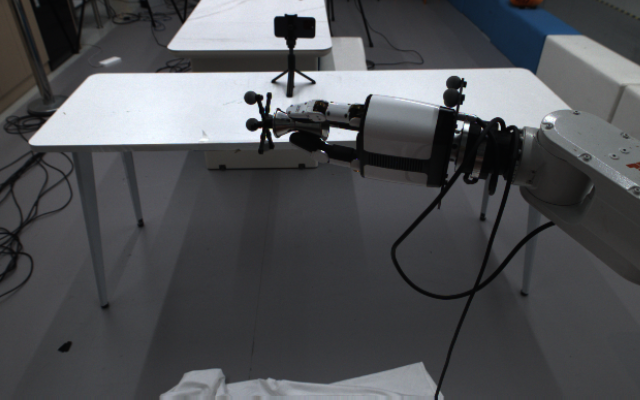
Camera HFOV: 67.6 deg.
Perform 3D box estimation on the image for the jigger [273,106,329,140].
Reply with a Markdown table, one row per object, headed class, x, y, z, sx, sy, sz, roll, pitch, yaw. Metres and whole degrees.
| class | x | y | z | sx | sy | sz | roll | pitch | yaw |
| --- | --- | --- | --- | --- | --- | --- | --- | --- | --- |
| jigger | -0.018 | -0.106 | 0.646 | 0.071 | 0.043 | 0.043 | 3 | 34 | 14 |
